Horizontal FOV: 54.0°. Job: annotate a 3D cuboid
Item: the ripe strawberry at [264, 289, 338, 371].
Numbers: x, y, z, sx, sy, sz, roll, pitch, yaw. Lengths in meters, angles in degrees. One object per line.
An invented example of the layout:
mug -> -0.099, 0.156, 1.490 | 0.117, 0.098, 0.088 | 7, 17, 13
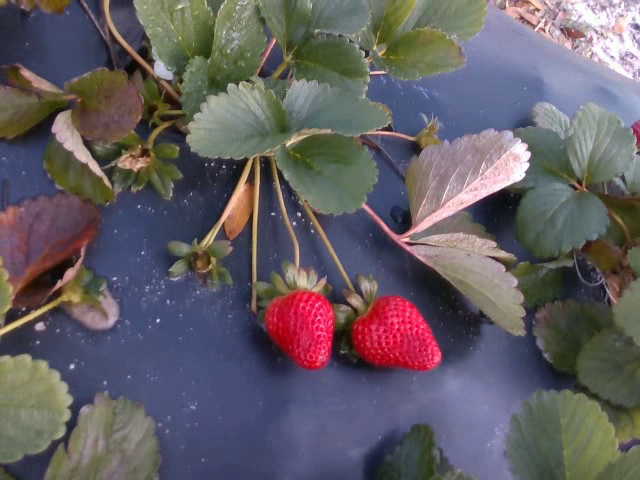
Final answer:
ripe strawberry -> -0.009, 0.056, 0.379 | 0.048, 0.056, 0.041 | -1, -38, -23

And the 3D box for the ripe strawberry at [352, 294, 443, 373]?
ripe strawberry -> 0.051, 0.062, 0.396 | 0.064, 0.051, 0.057 | 35, 58, 27
